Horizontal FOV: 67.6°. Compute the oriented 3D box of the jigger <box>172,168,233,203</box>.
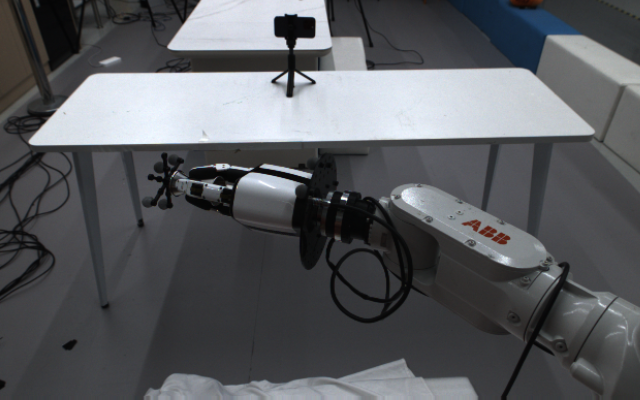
[{"bbox_3d":[-0.172,-0.021,0.697,0.071,0.043,0.043,11,36,16],"label":"jigger"}]
